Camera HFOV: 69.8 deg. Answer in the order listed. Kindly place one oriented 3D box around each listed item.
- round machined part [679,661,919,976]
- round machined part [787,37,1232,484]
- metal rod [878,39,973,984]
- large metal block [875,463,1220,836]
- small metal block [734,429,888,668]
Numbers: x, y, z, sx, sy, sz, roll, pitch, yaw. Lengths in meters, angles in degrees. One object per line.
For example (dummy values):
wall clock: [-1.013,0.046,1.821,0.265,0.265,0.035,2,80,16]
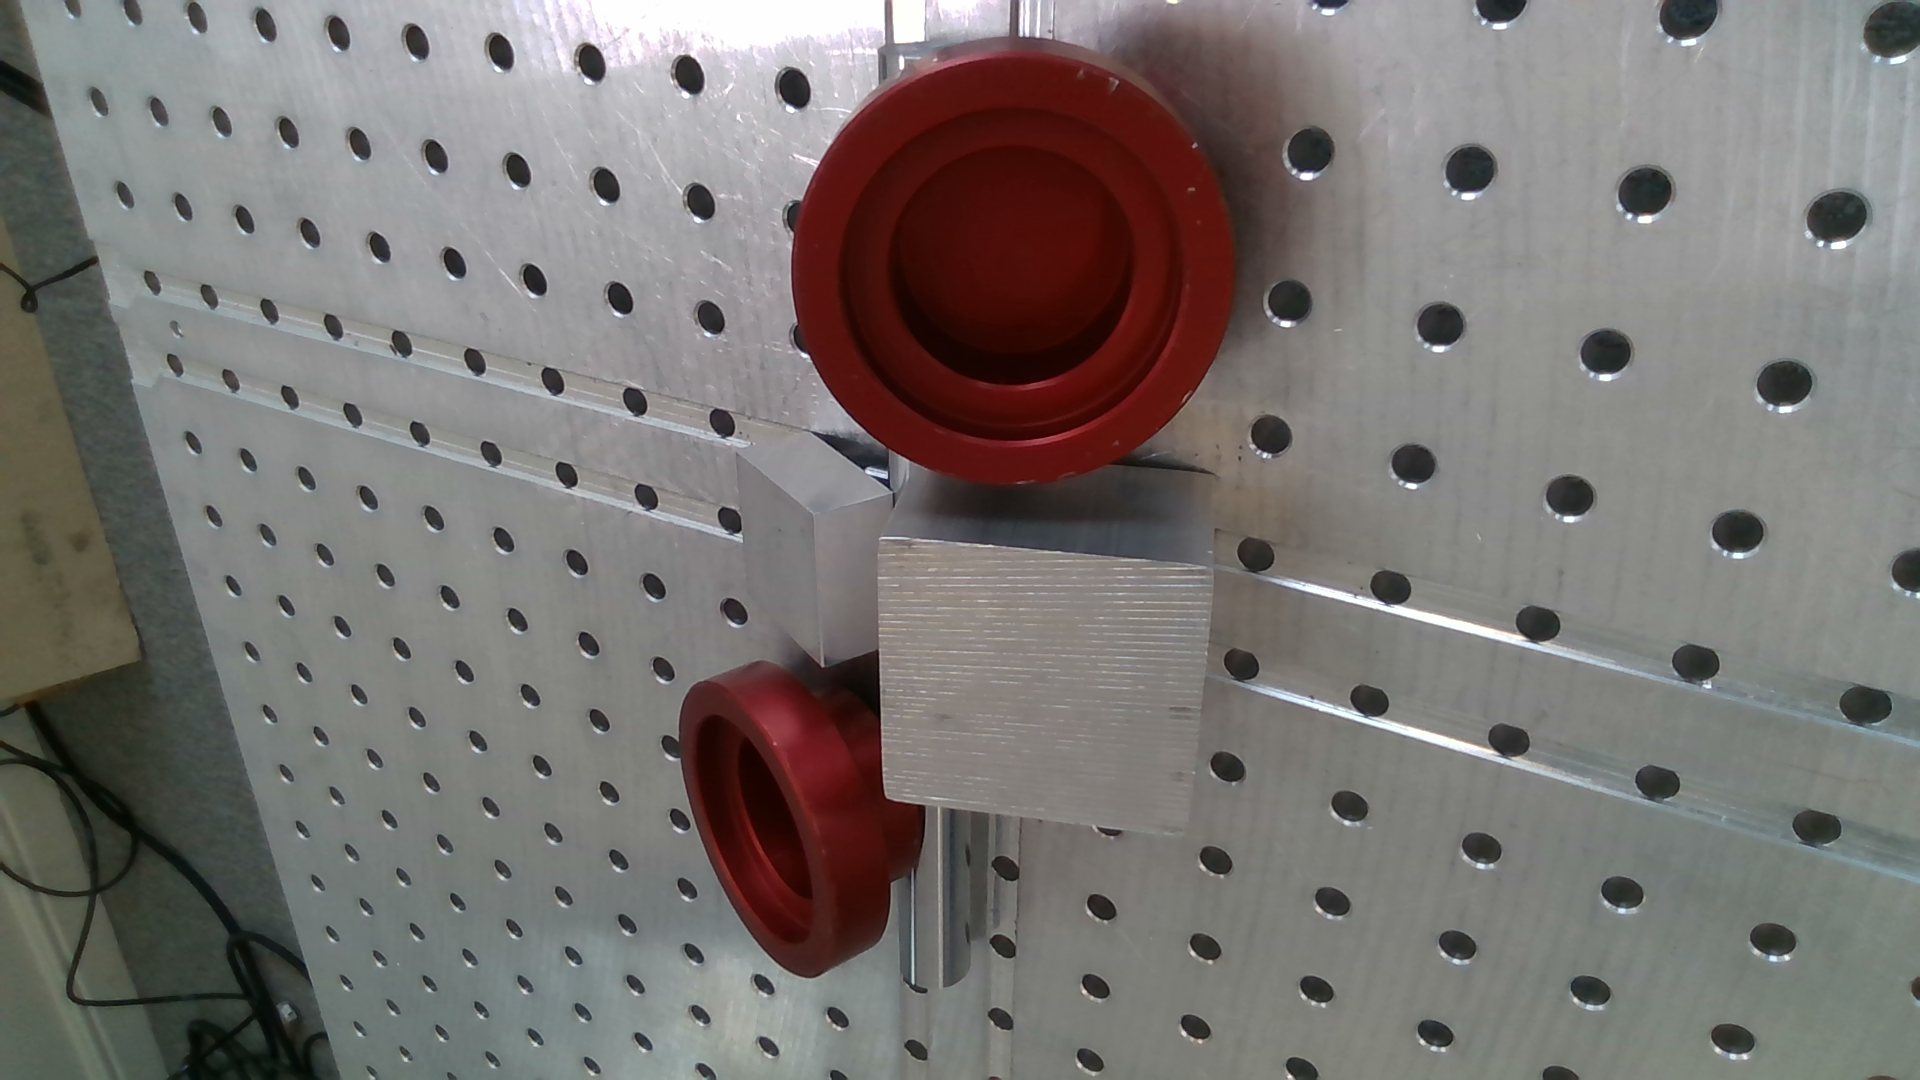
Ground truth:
round machined part: [-0.049,0.085,0.442,0.098,0.042,0.098,33,133,45]
round machined part: [0.012,-0.066,0.321,0.098,0.042,0.098,1,119,2]
metal rod: [-0.008,0.013,0.405,0.025,0.025,0.301,15,122,25]
large metal block: [0.023,0.025,0.361,0.080,0.050,0.080,5,119,9]
small metal block: [-0.043,0.001,0.406,0.050,0.025,0.050,37,135,47]
